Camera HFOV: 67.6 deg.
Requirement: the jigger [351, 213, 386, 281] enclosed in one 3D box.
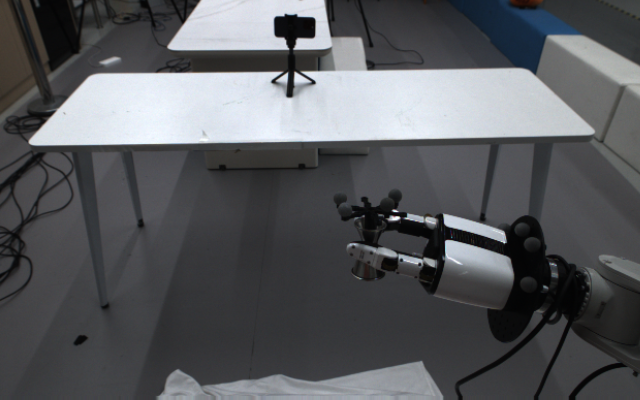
[{"bbox_3d":[0.061,0.060,0.606,0.043,0.071,0.043,0,21,0],"label":"jigger"}]
